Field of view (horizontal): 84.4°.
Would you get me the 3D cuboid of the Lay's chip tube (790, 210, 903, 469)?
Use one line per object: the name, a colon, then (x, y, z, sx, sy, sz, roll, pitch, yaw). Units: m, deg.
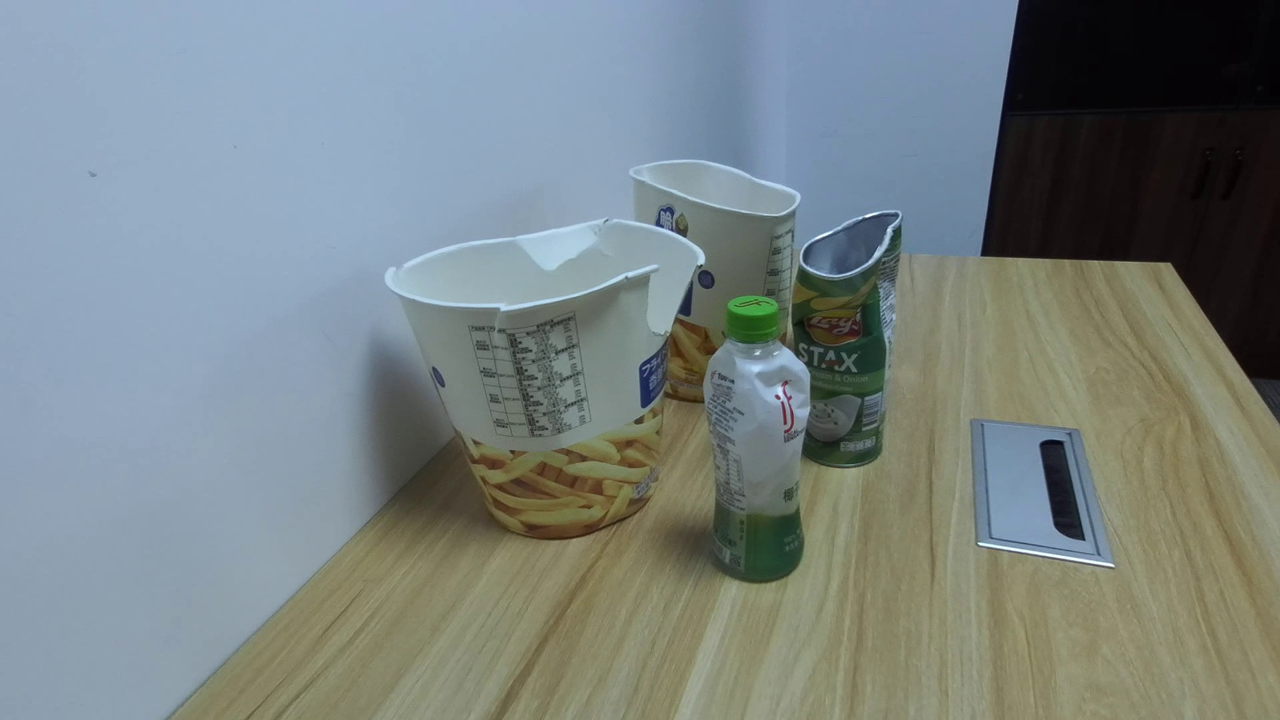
Lay's chip tube: (0.157, -0.008, 0.539, 0.079, 0.200, 0.071, -3, 35, 10)

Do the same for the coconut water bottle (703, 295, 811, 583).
coconut water bottle: (0.074, 0.051, 0.450, 0.067, 0.187, 0.067, -4, 27, 2)

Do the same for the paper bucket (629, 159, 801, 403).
paper bucket: (0.065, -0.077, 0.673, 0.217, 0.199, 0.148, 15, 32, 33)

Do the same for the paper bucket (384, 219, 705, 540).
paper bucket: (-0.060, 0.012, 0.539, 0.203, 0.197, 0.145, -17, 31, -18)
